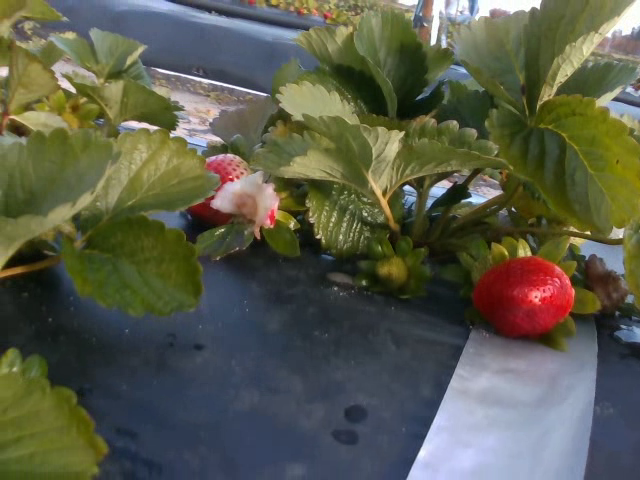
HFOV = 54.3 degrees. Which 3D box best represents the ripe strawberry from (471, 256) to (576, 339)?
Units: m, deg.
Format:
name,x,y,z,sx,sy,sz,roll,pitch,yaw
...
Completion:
name,x,y,z,sx,sy,sz,roll,pitch,yaw
ripe strawberry,0.079,0.019,0.232,0.050,0.036,0.055,29,26,22
